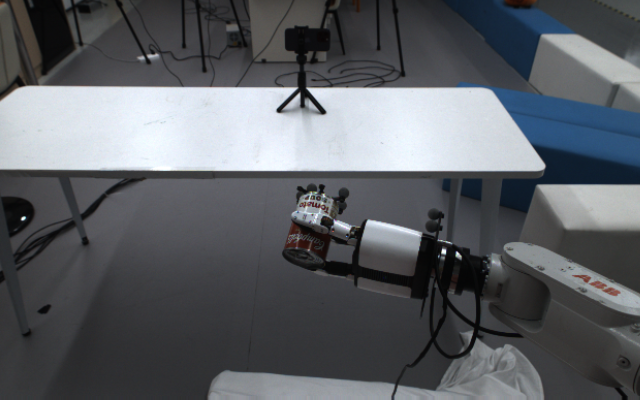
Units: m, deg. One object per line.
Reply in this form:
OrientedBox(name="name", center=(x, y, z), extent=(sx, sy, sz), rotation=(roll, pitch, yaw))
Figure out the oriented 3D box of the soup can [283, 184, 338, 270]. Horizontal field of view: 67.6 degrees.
OrientedBox(name="soup can", center=(-0.012, 0.046, 0.750), extent=(0.067, 0.067, 0.101), rotation=(9, 60, 10))
